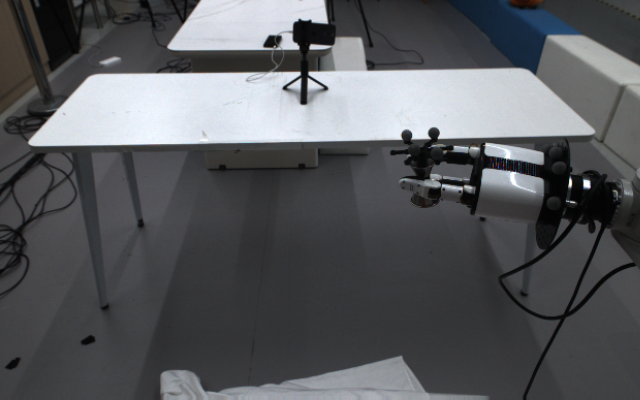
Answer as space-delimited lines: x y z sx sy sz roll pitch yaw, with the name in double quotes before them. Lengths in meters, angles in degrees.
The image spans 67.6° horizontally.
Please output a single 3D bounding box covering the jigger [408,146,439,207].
"jigger" 0.155 -0.031 0.727 0.043 0.071 0.043 -9 31 5
